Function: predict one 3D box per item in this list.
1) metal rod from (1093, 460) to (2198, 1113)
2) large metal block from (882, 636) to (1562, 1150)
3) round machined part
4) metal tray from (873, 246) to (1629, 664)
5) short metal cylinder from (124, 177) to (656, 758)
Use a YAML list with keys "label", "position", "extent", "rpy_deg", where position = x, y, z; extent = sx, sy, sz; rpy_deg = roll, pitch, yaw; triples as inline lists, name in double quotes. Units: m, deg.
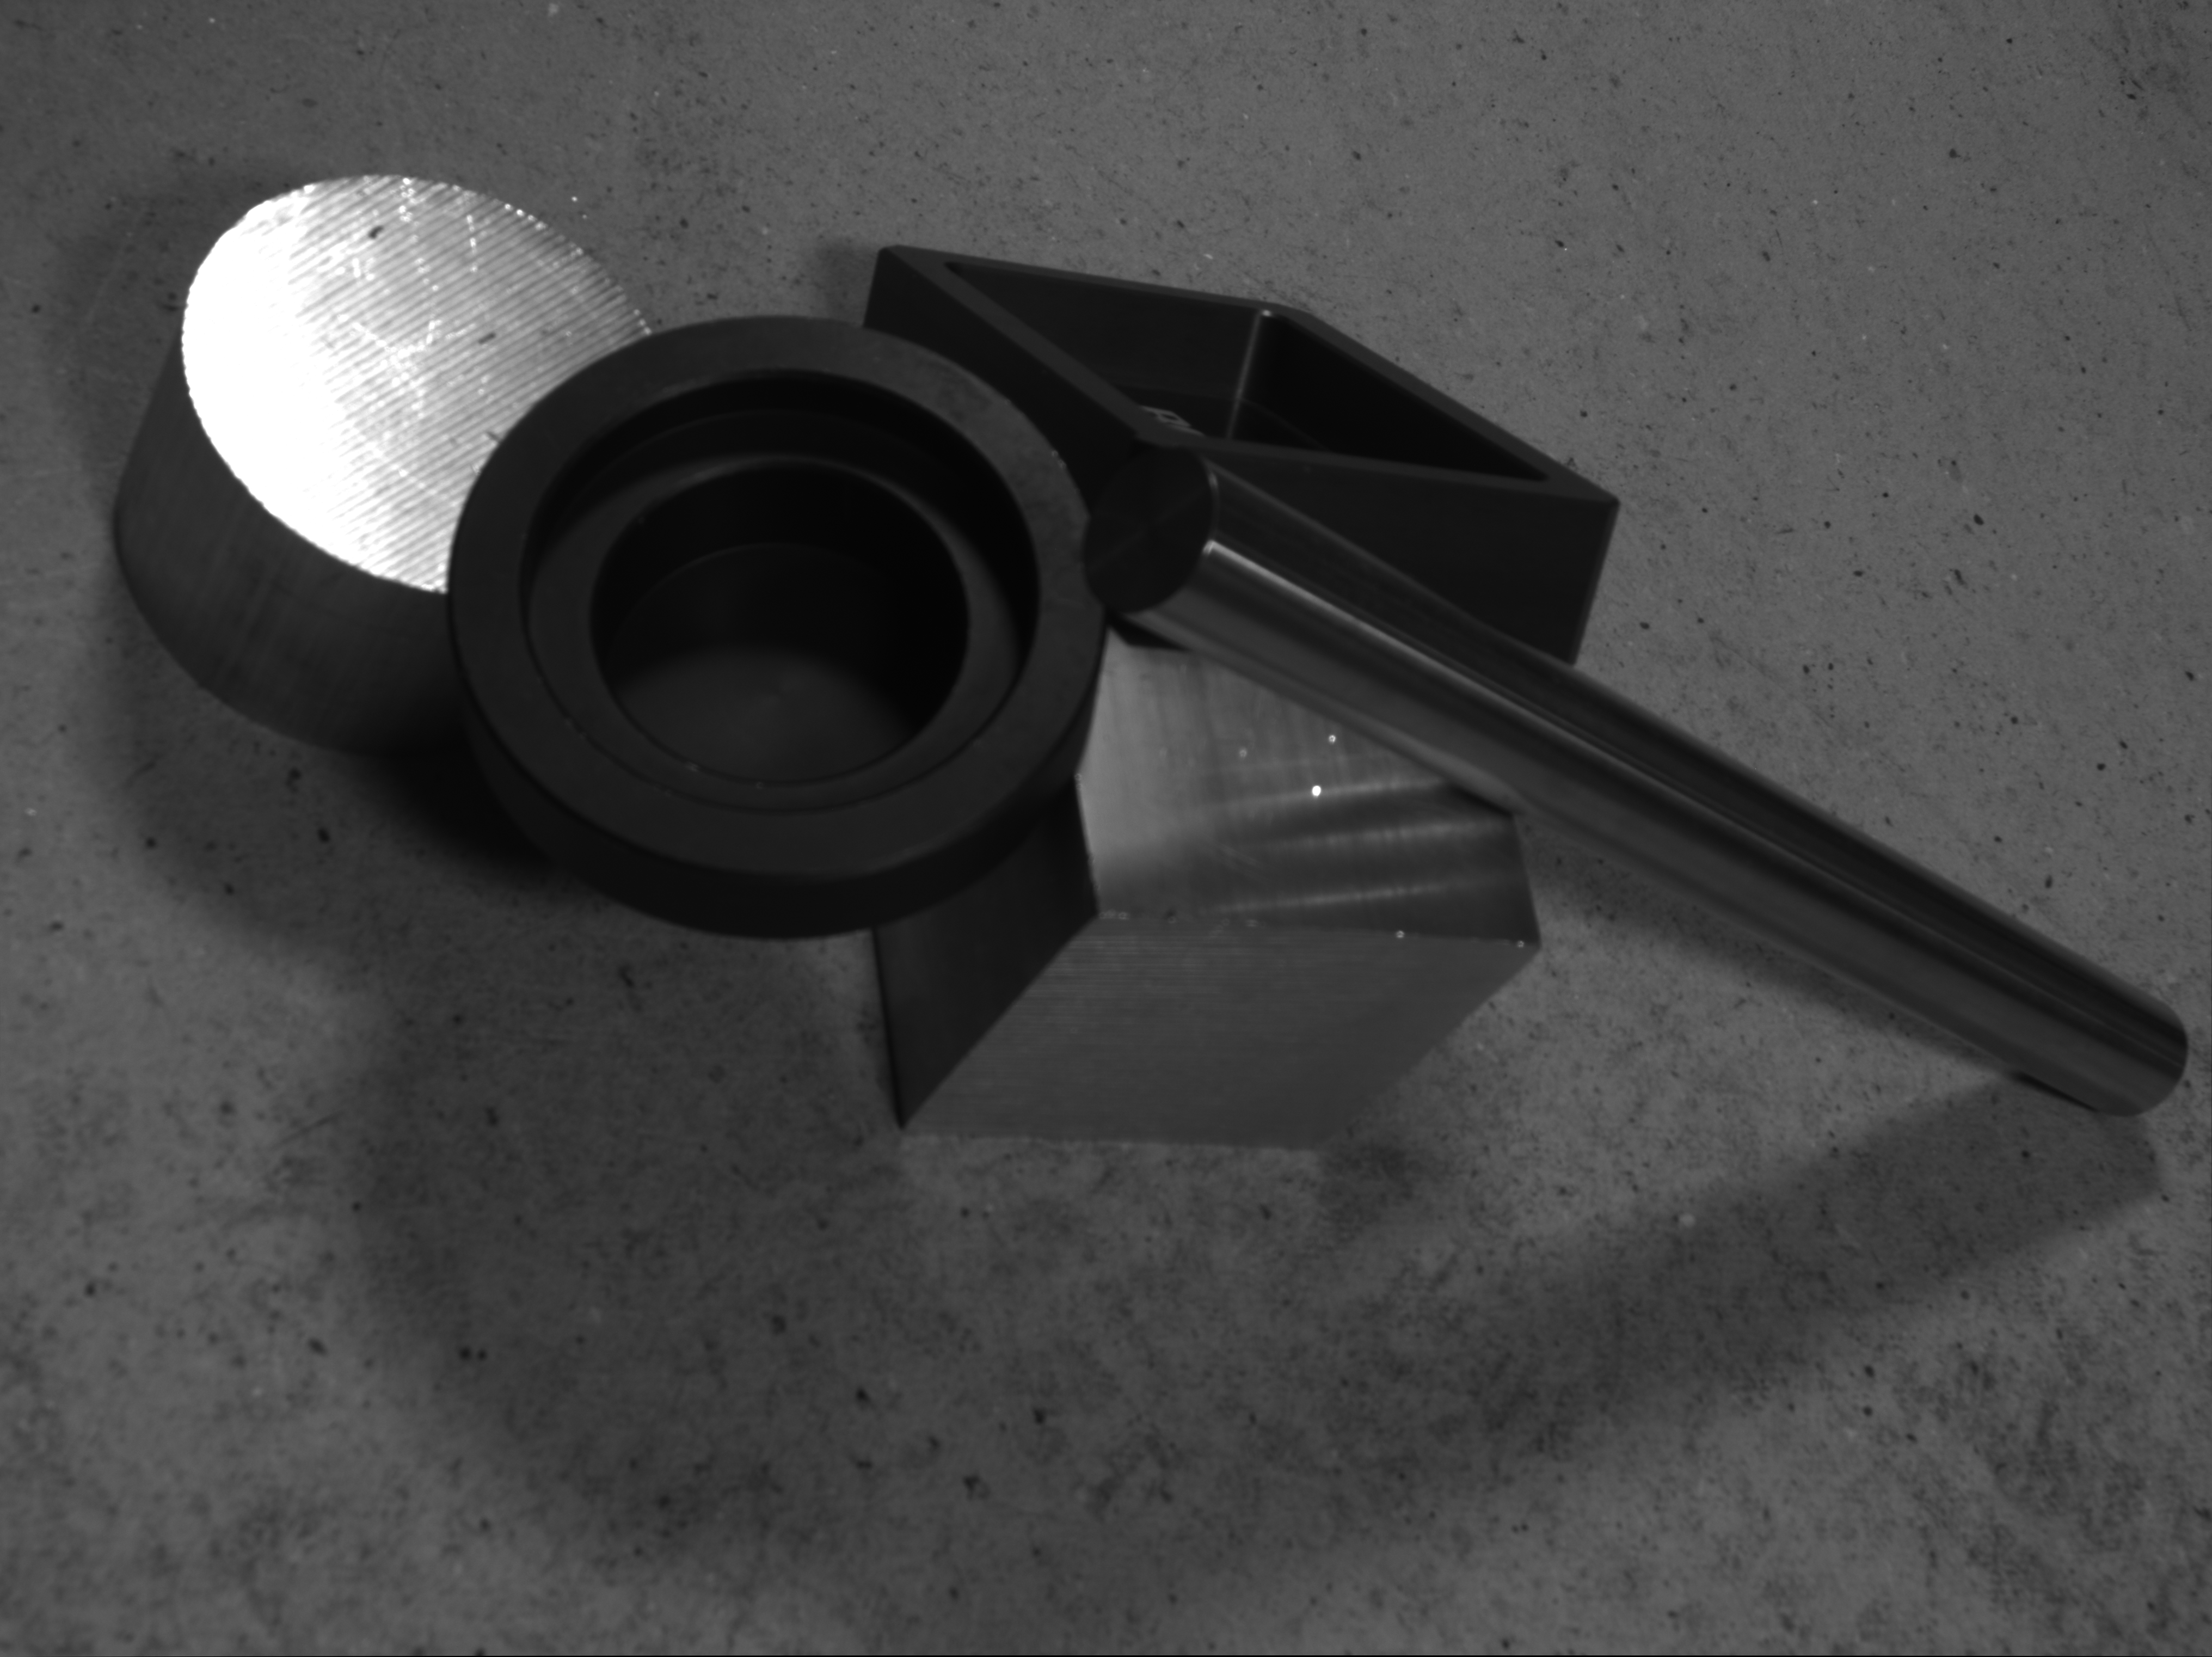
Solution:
- label: "metal rod"
  position: [0.106, 0.002, 0.620]
  extent: [0.301, 0.025, 0.025]
  rpy_deg: [23, 49, -45]
- label: "large metal block"
  position: [0.016, 0.012, 0.605]
  extent: [0.080, 0.080, 0.050]
  rpy_deg: [5, 59, -26]
- label: "round machined part"
  position: [-0.049, -0.026, 0.562]
  extent: [0.098, 0.042, 0.098]
  rpy_deg: [2, 62, -4]
- label: "metal tray"
  position: [0.020, -0.067, 0.640]
  extent: [0.090, 0.030, 0.130]
  rpy_deg: [5, 20, -26]
- label: "short metal cylinder"
  position: [-0.115, -0.059, 0.598]
  extent: [0.080, 0.050, 0.080]
  rpy_deg: [14, 56, -21]
